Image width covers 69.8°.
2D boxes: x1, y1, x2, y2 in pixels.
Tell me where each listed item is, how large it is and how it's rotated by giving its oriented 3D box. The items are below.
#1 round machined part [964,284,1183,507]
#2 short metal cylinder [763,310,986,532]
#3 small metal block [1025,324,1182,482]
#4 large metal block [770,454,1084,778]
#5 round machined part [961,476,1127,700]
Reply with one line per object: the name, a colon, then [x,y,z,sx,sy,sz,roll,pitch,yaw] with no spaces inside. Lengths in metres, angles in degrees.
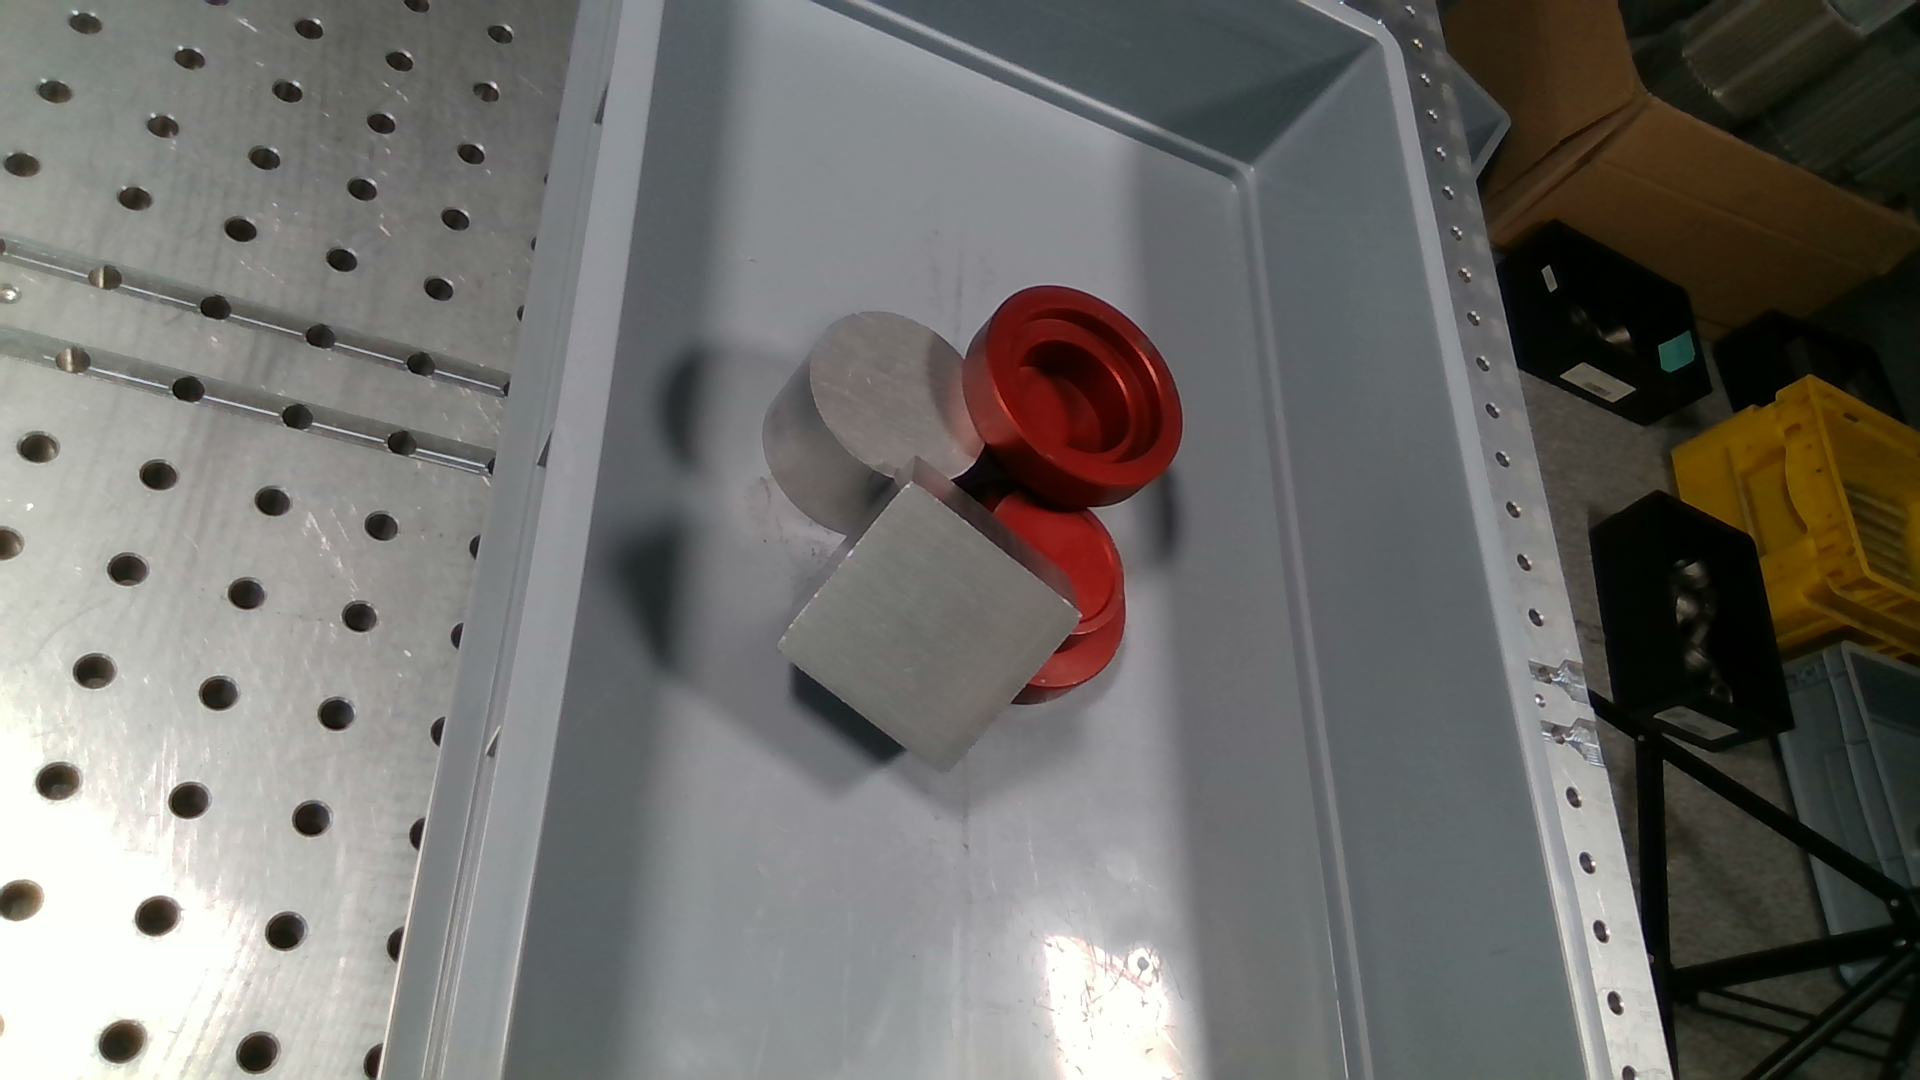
round machined part: [0.044,-0.058,0.594,0.098,0.042,0.098,14,59,-25]
short metal cylinder: [-0.036,-0.048,0.572,0.080,0.050,0.080,14,59,-25]
small metal block: [0.066,-0.064,0.643,0.050,0.050,0.025,50,51,2]
large metal block: [-0.012,0.027,0.518,0.080,0.080,0.050,39,11,-9]
round machined part: [0.030,0.016,0.582,0.098,0.042,0.098,14,59,-25]
